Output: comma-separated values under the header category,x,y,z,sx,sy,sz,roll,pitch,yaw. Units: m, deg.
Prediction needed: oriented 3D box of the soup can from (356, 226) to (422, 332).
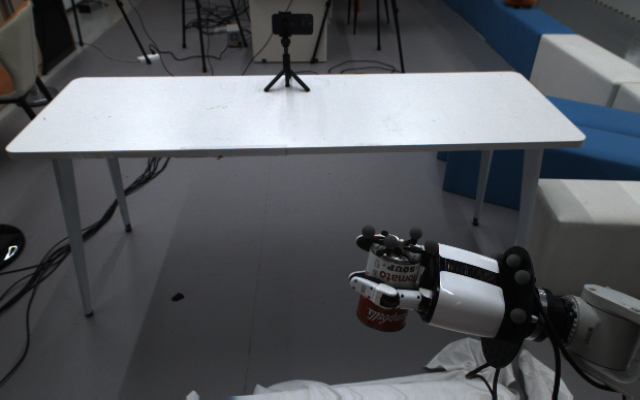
category,x,y,z,sx,sy,sz,roll,pitch,yaw
soup can,0.091,0.110,0.633,0.067,0.101,0.067,8,19,-3
